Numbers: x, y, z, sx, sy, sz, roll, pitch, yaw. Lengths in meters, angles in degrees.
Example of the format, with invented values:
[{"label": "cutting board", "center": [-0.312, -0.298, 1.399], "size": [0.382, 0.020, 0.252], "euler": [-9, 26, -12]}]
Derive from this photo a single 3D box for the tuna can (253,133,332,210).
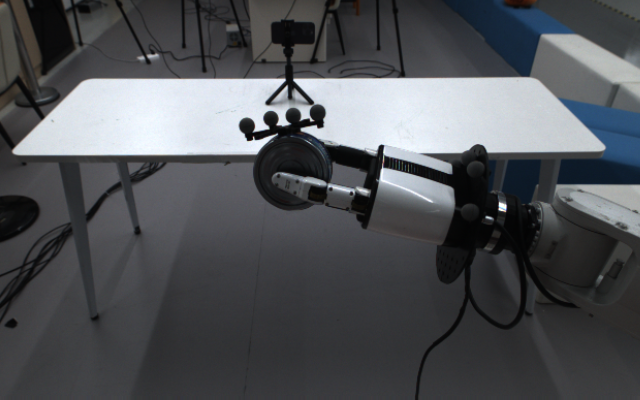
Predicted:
[{"label": "tuna can", "center": [-0.026, -0.027, 0.537], "size": [0.085, 0.085, 0.034], "euler": [6, 18, 5]}]
